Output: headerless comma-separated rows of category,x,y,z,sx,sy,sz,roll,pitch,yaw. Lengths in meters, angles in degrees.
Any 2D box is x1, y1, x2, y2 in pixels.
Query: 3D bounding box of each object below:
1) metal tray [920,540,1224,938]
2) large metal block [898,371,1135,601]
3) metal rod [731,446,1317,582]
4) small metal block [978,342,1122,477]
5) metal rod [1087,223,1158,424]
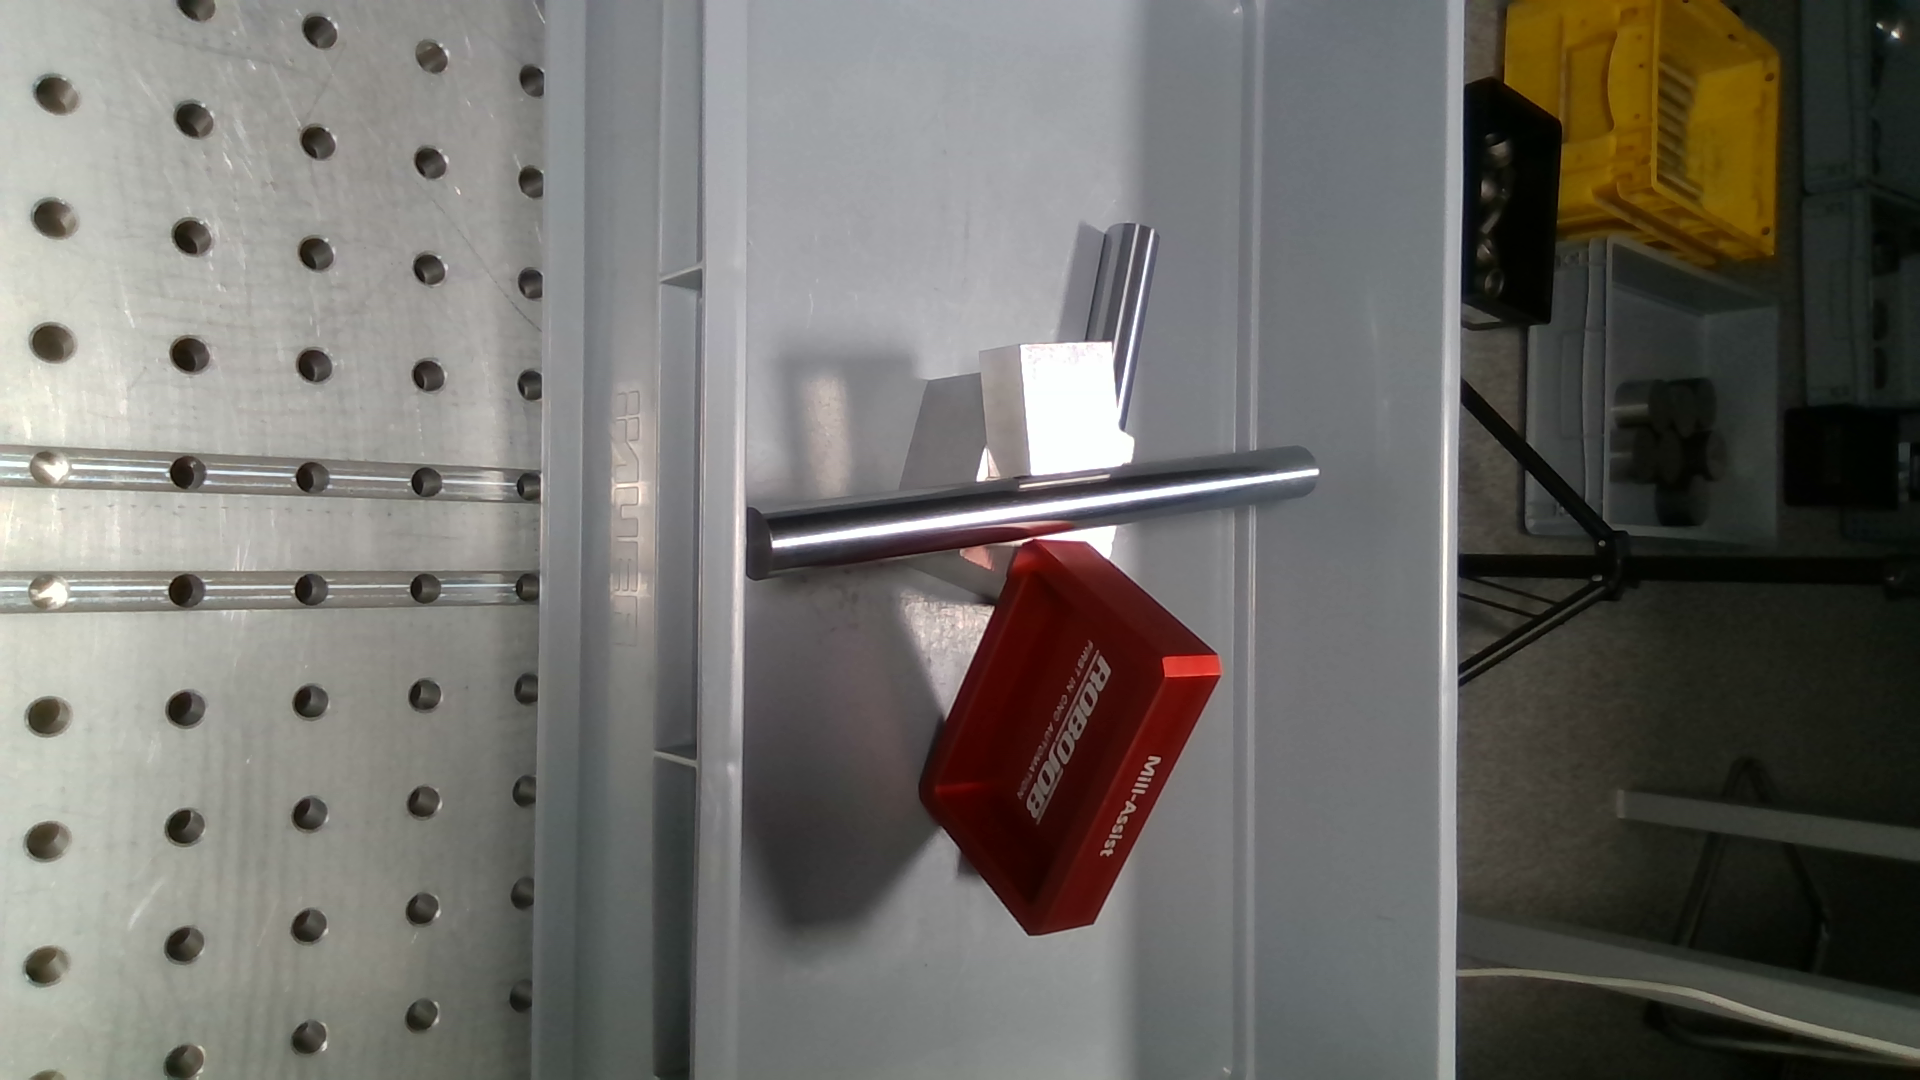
metal tray,0.039,0.077,0.538,0.030,0.090,0.130,1,120,-40
large metal block,0.021,-0.019,0.584,0.080,0.050,0.080,23,75,-38
metal rod,0.044,-0.015,0.554,0.300,0.025,0.025,-8,95,-40
small metal block,0.036,-0.052,0.547,0.050,0.025,0.050,-9,96,-40
metal rod,0.053,0.000,0.627,0.025,0.025,0.300,19,78,-39
